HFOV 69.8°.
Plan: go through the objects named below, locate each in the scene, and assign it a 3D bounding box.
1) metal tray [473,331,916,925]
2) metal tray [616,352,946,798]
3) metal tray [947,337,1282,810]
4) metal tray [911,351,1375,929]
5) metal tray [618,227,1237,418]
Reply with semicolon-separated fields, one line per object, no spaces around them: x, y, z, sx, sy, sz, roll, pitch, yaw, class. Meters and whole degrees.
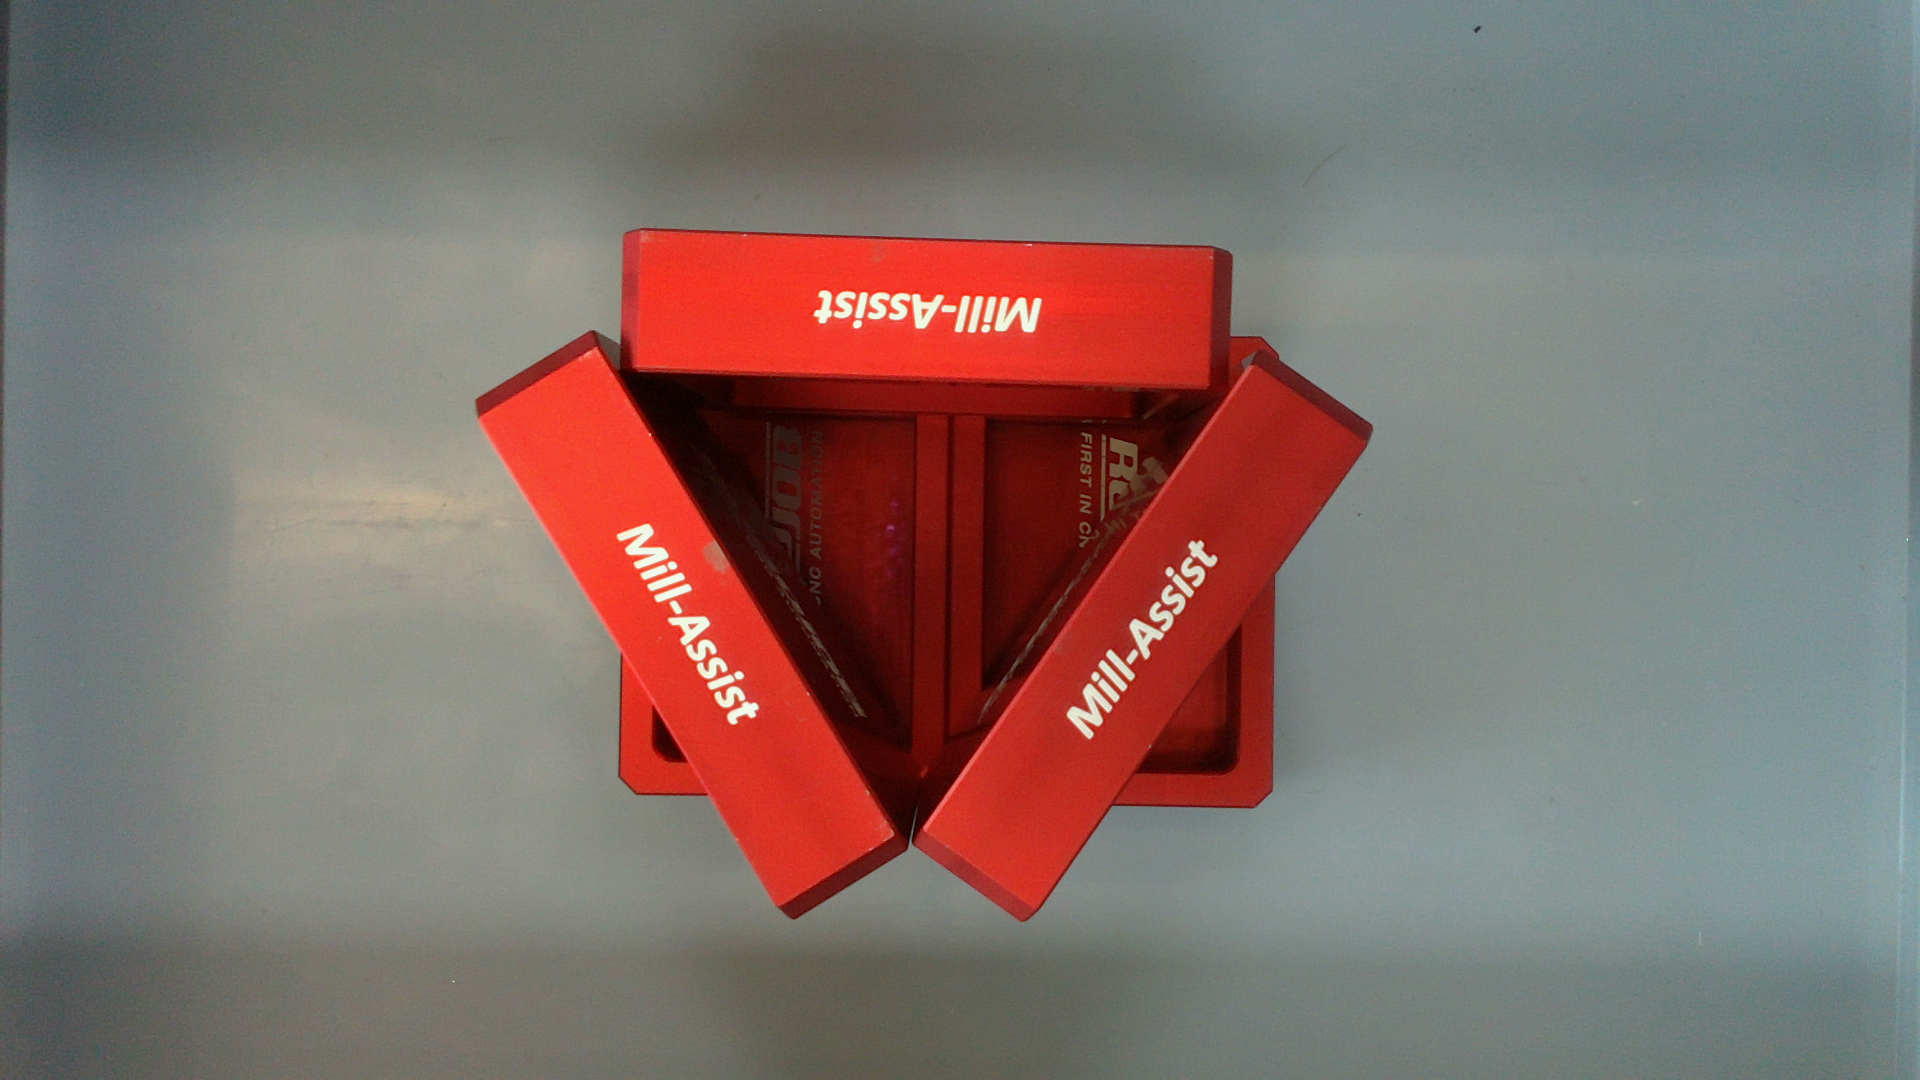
-0.057;0.018;0.331;0.030;0.090;0.130;-31;90;1;metal tray
-0.049;0.006;0.393;0.090;0.030;0.130;0;89;0;metal tray
0.043;0.008;0.392;0.090;0.030;0.130;1;89;0;metal tray
0.039;0.021;0.331;0.030;0.090;0.130;35;91;0;metal tray
-0.006;-0.049;0.330;0.130;0.090;0.030;2;91;0;metal tray
